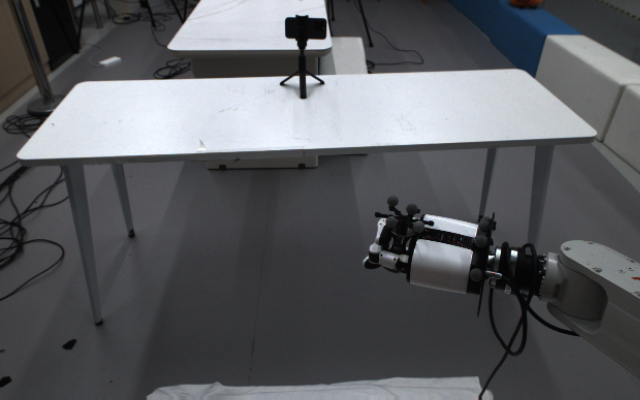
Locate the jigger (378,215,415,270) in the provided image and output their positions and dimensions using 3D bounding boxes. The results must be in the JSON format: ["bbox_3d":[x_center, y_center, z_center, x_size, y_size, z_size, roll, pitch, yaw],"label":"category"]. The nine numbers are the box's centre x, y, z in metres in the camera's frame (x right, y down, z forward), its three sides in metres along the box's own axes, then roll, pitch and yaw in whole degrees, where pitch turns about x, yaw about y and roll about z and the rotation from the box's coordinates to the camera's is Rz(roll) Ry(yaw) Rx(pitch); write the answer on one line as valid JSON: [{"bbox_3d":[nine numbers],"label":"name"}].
[{"bbox_3d":[0.124,0.074,0.756,0.043,0.071,0.043,6,26,-3],"label":"jigger"}]
